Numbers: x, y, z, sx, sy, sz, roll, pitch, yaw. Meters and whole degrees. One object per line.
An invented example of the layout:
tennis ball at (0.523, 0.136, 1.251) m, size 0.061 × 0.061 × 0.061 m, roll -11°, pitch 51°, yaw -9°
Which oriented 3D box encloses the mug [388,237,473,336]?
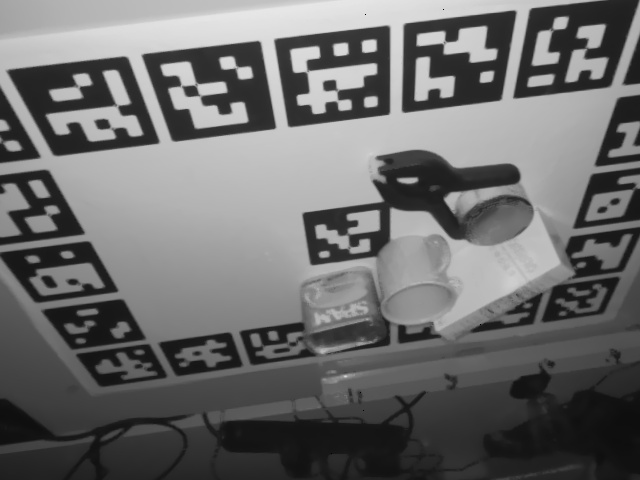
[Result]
mug at (0.130, 0.045, 0.813) m, size 0.094 × 0.082 × 0.115 m, roll 11°, pitch 133°, yaw -18°

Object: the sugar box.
sugar box at (0.223, 0.041, 0.828) m, size 0.174 × 0.093 × 0.046 m, roll -34°, pitch 133°, yaw 28°

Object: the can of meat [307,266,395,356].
can of meat at (0.035, 0.086, 0.853) m, size 0.101 × 0.084 × 0.057 m, roll -12°, pitch 139°, yaw 7°

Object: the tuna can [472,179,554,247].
tuna can at (0.216, -0.034, 0.779) m, size 0.086 × 0.034 × 0.085 m, roll -5°, pitch 136°, yaw -4°

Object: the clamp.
clamp at (0.133, -0.064, 0.741) m, size 0.166 × 0.037 × 0.120 m, roll 21°, pitch 135°, yaw -22°
